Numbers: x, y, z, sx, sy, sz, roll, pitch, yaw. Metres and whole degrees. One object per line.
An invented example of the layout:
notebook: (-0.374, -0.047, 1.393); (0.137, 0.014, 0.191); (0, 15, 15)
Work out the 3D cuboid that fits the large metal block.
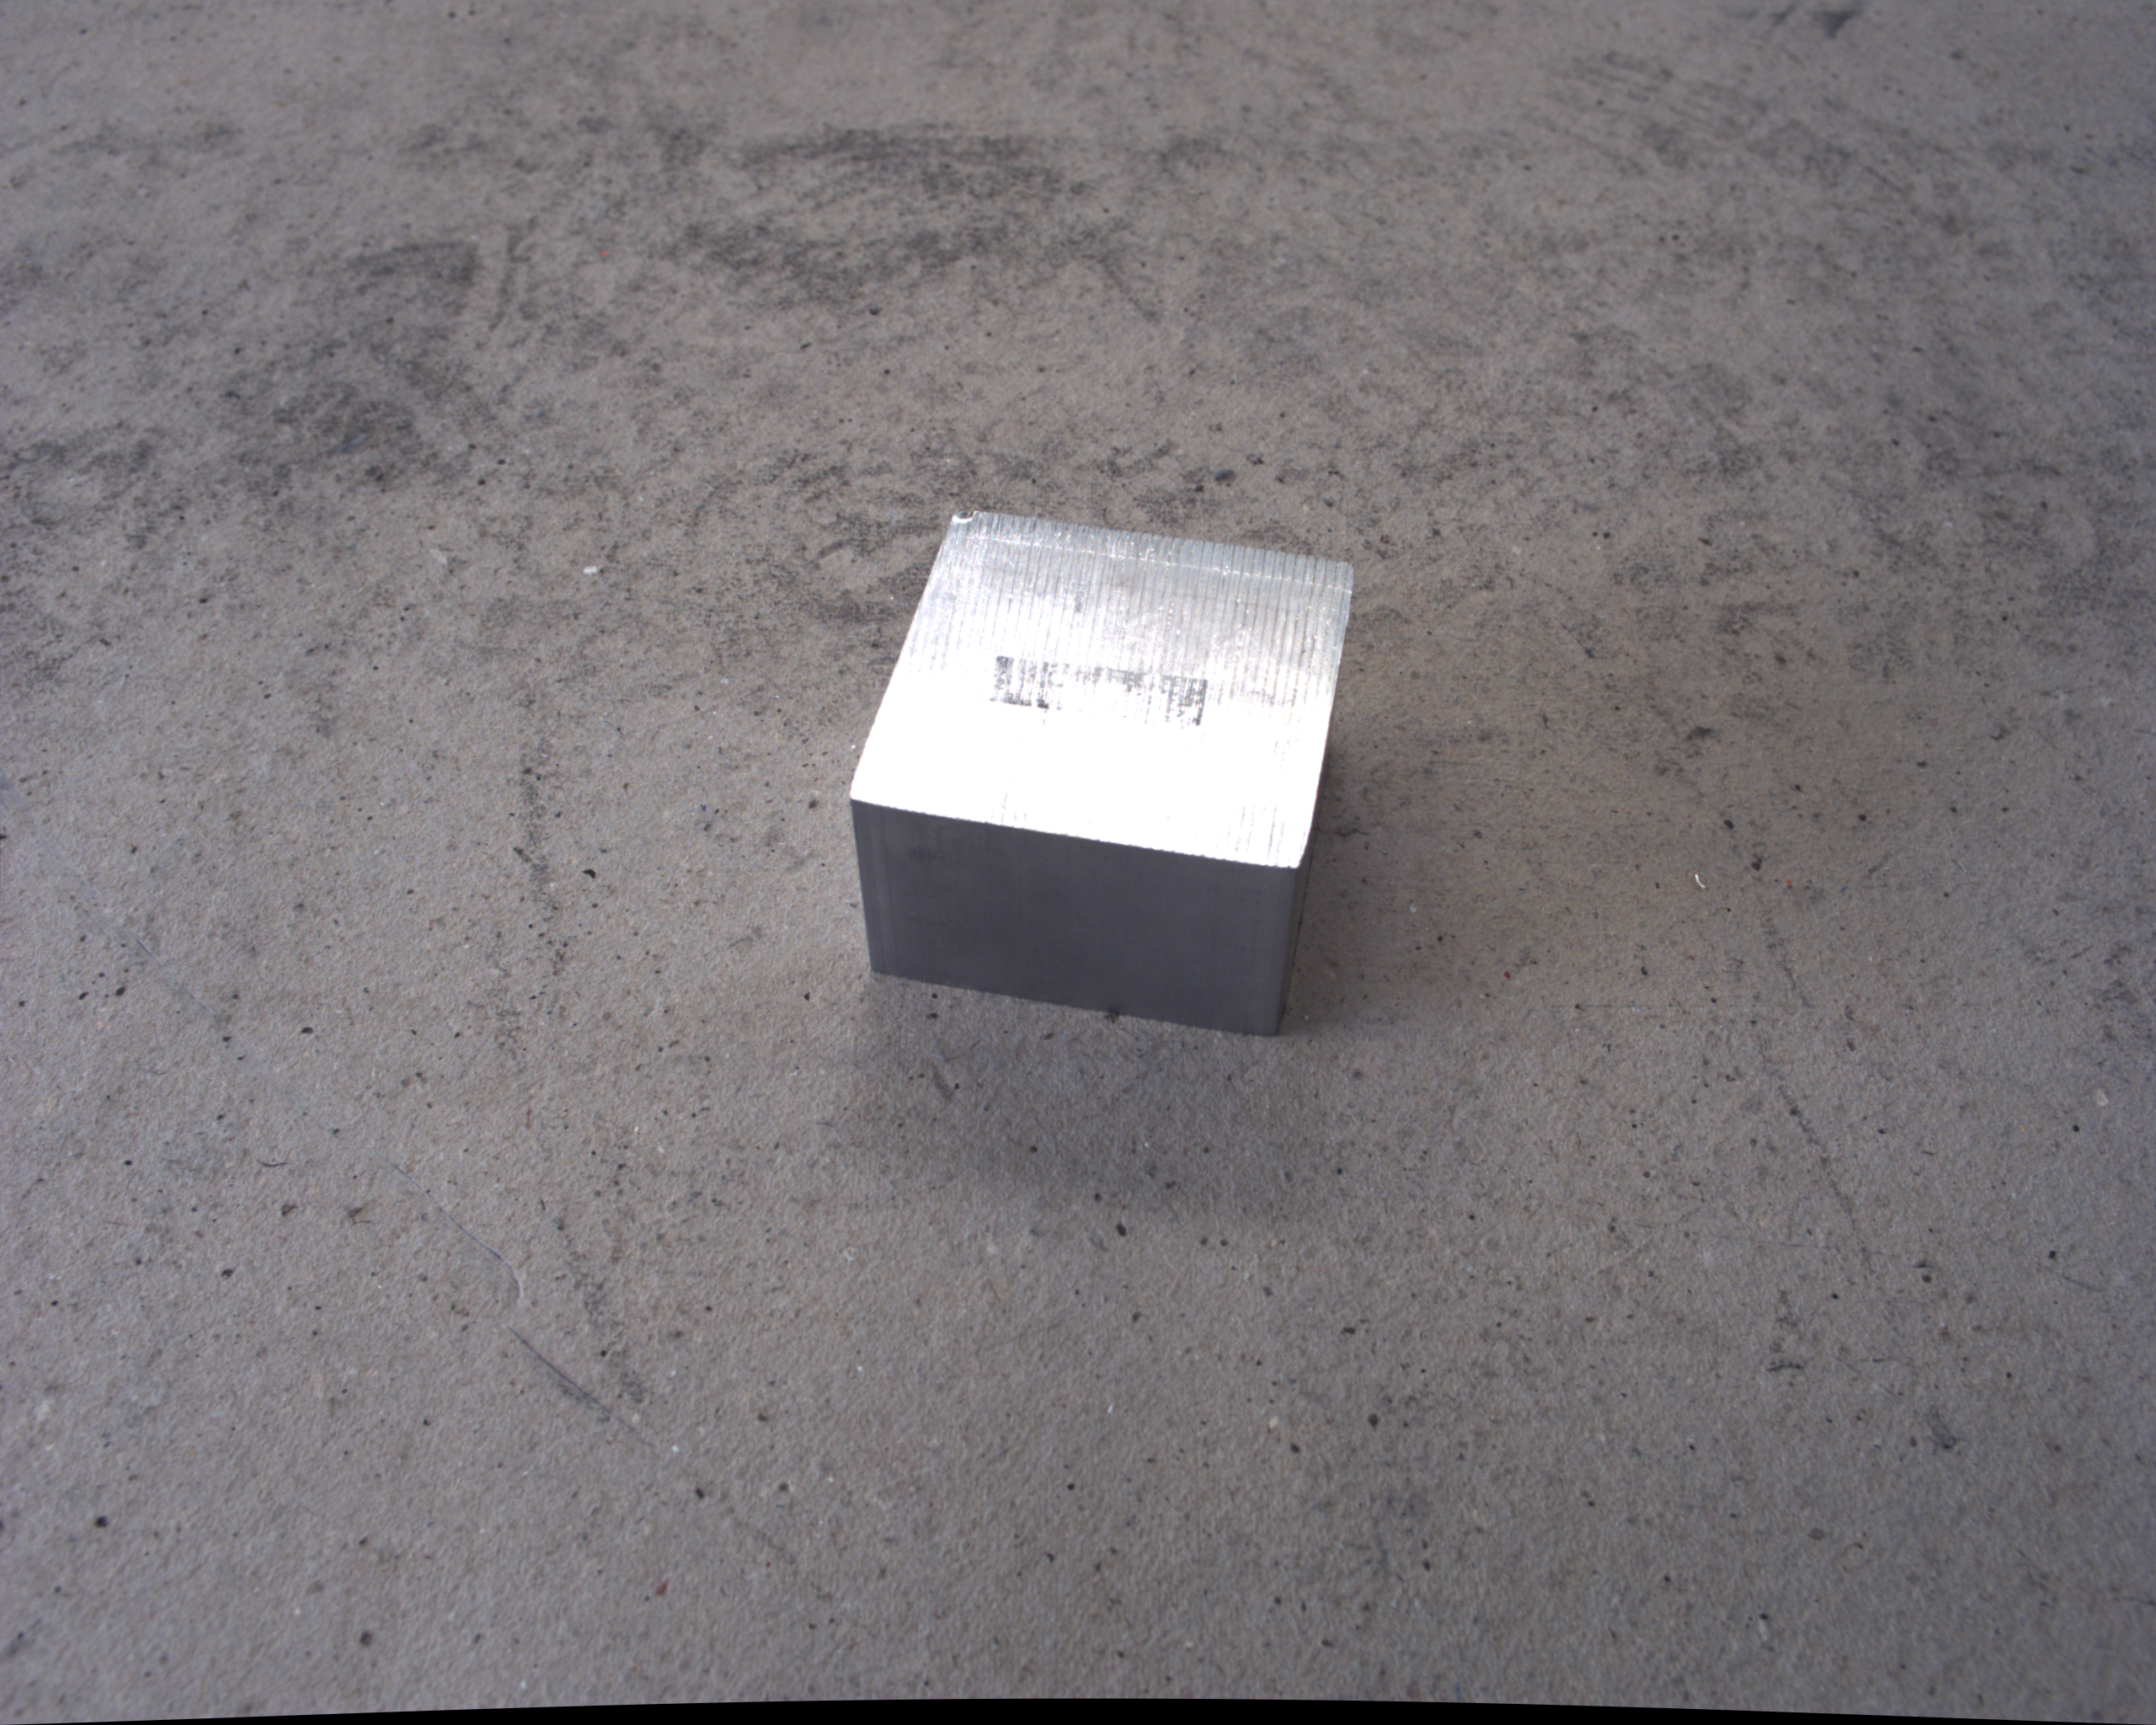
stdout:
large metal block: (0.007, -0.018, 0.404); (0.080, 0.050, 0.080); (10, 51, 6)
